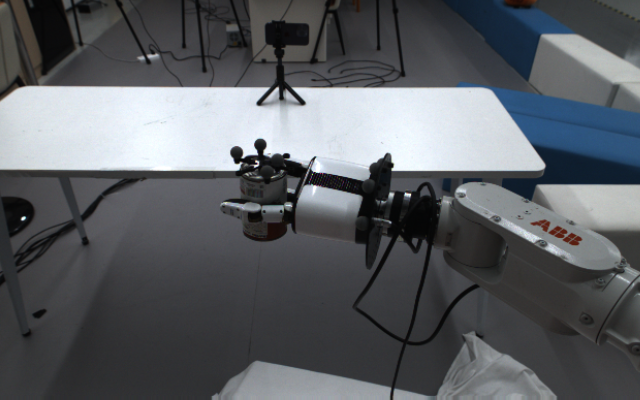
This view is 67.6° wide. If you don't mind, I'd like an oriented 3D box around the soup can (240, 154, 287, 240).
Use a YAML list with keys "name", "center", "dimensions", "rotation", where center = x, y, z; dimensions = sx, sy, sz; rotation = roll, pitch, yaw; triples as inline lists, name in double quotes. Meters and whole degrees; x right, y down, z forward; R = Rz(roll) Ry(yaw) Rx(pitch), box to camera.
- name: "soup can"
  center: [-0.078, 0.000, 0.687]
  dimensions: [0.067, 0.101, 0.067]
  rotation: [2, 32, -1]
